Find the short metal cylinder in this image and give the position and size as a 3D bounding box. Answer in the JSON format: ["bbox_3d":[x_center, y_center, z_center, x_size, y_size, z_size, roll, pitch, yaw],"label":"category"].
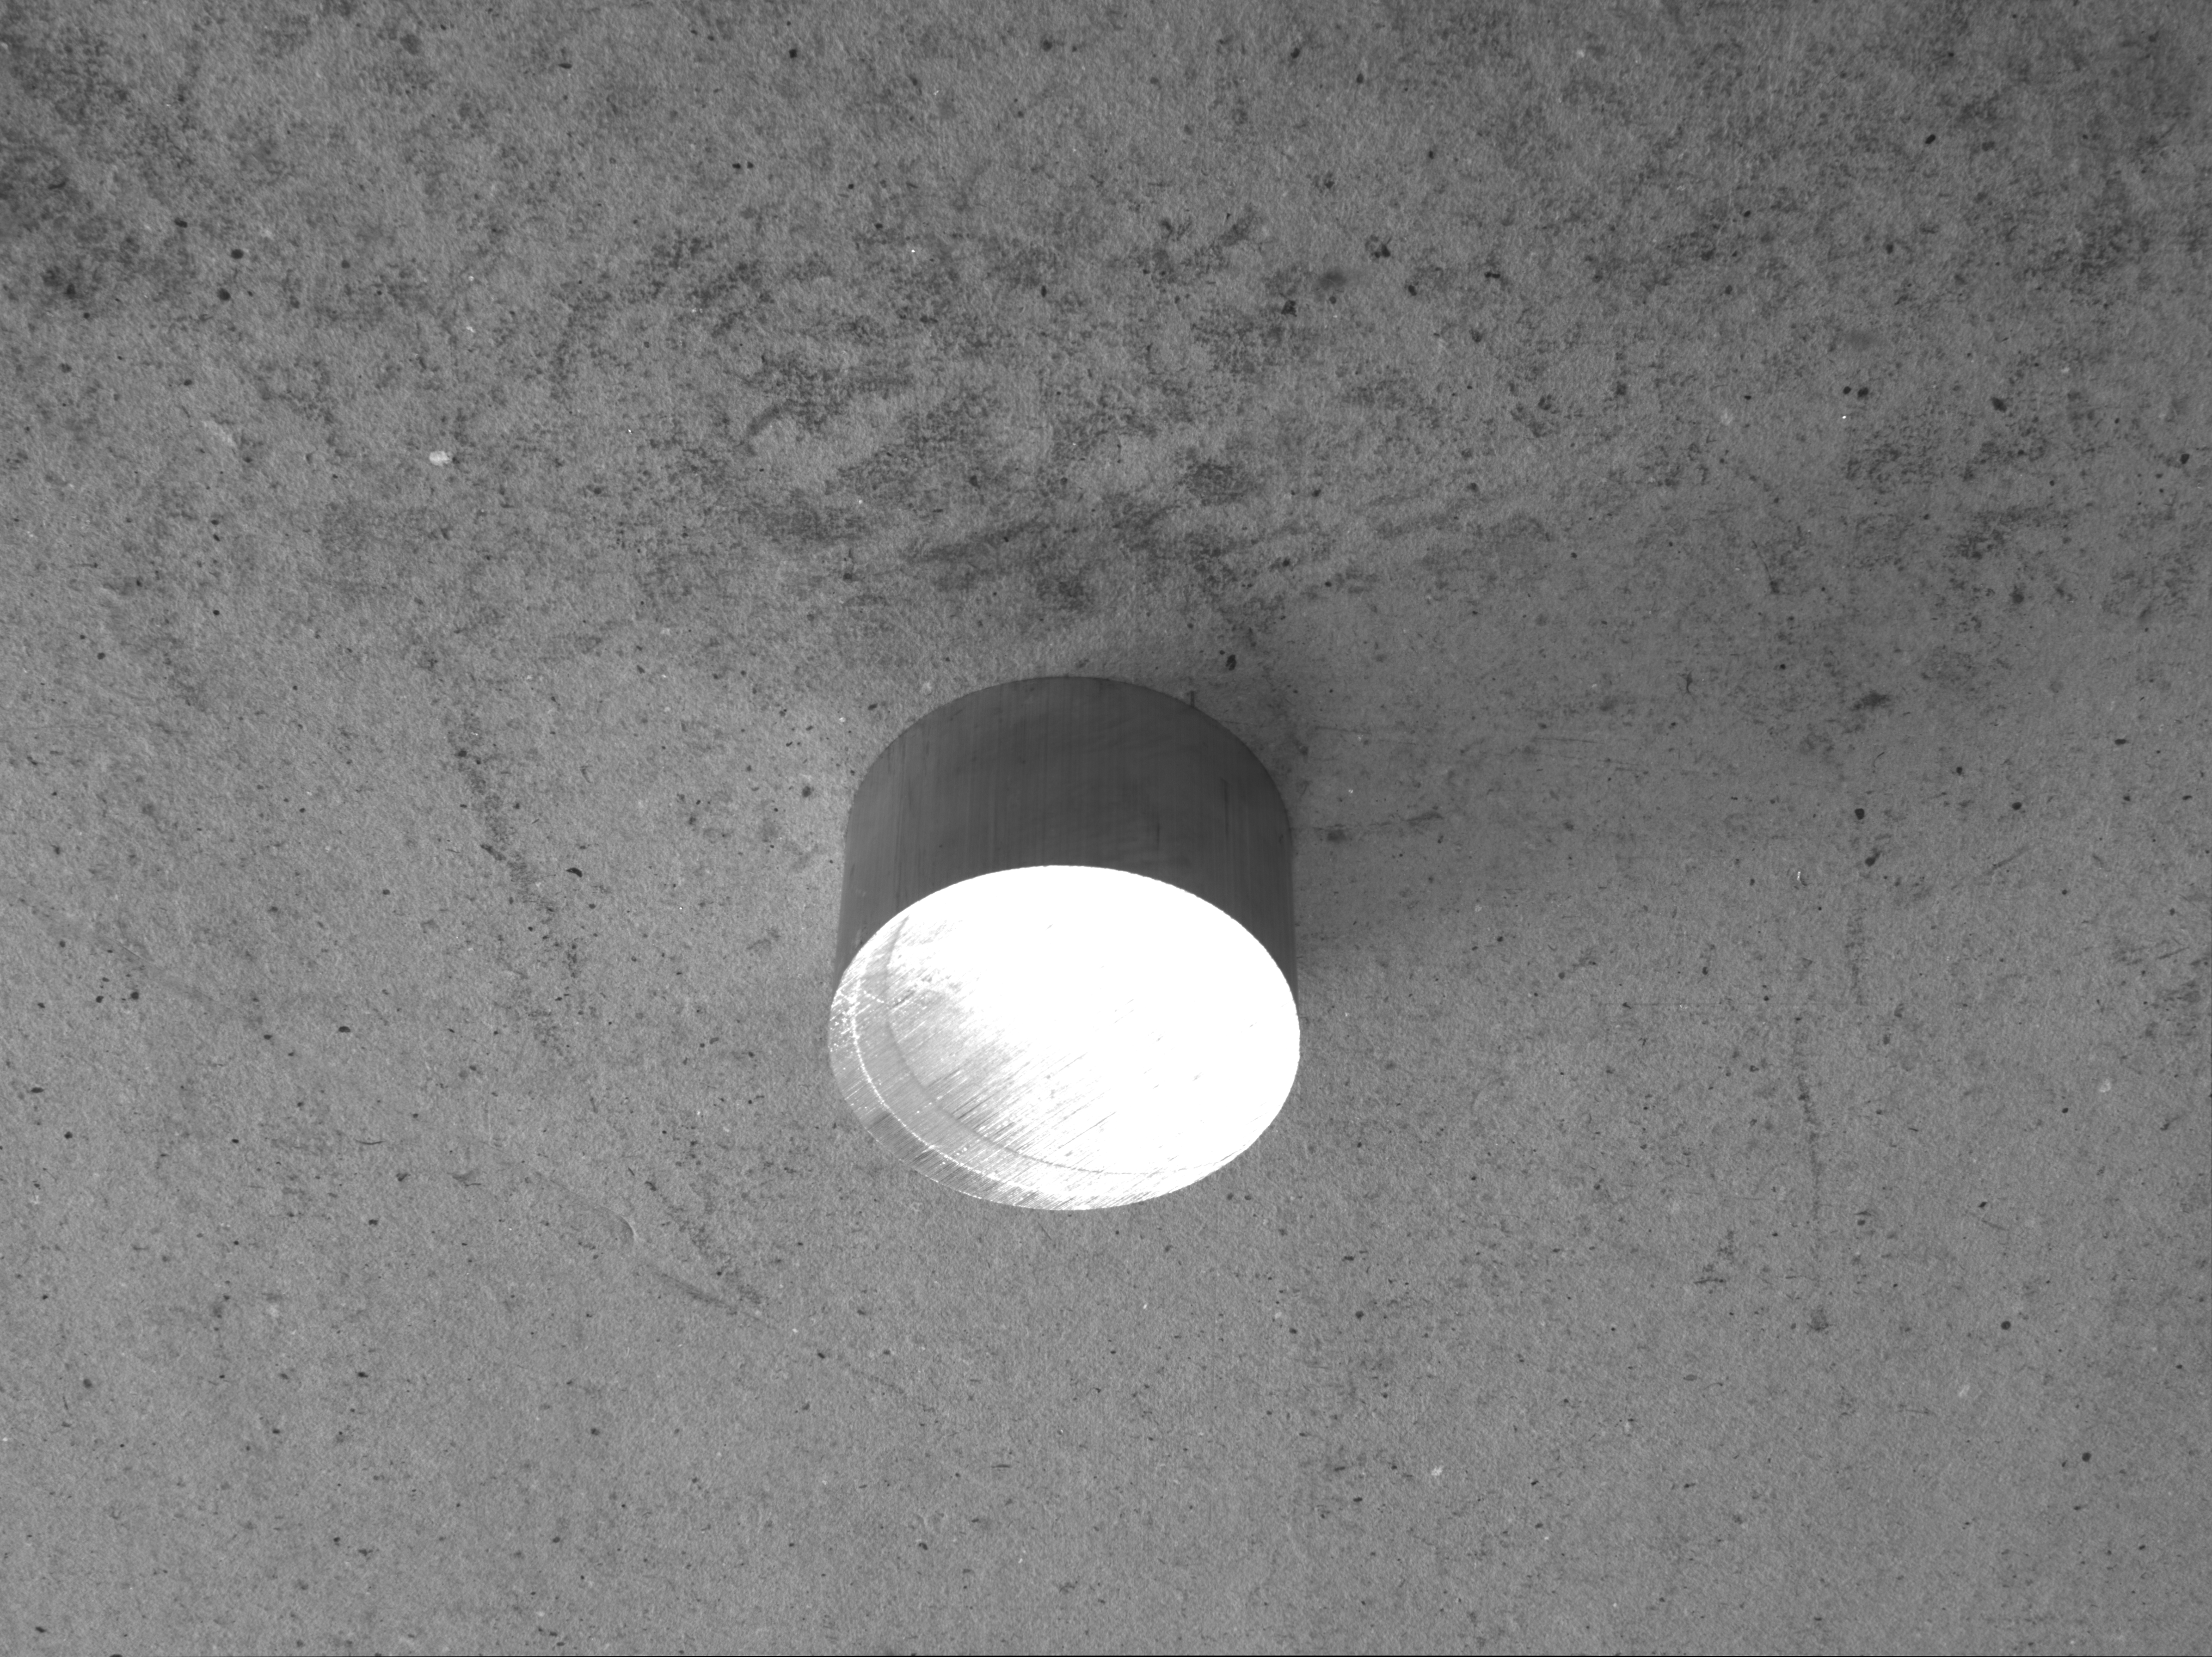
[{"bbox_3d":[-0.007,0.021,0.641,0.080,0.050,0.080,-1,130,-1],"label":"short metal cylinder"}]
